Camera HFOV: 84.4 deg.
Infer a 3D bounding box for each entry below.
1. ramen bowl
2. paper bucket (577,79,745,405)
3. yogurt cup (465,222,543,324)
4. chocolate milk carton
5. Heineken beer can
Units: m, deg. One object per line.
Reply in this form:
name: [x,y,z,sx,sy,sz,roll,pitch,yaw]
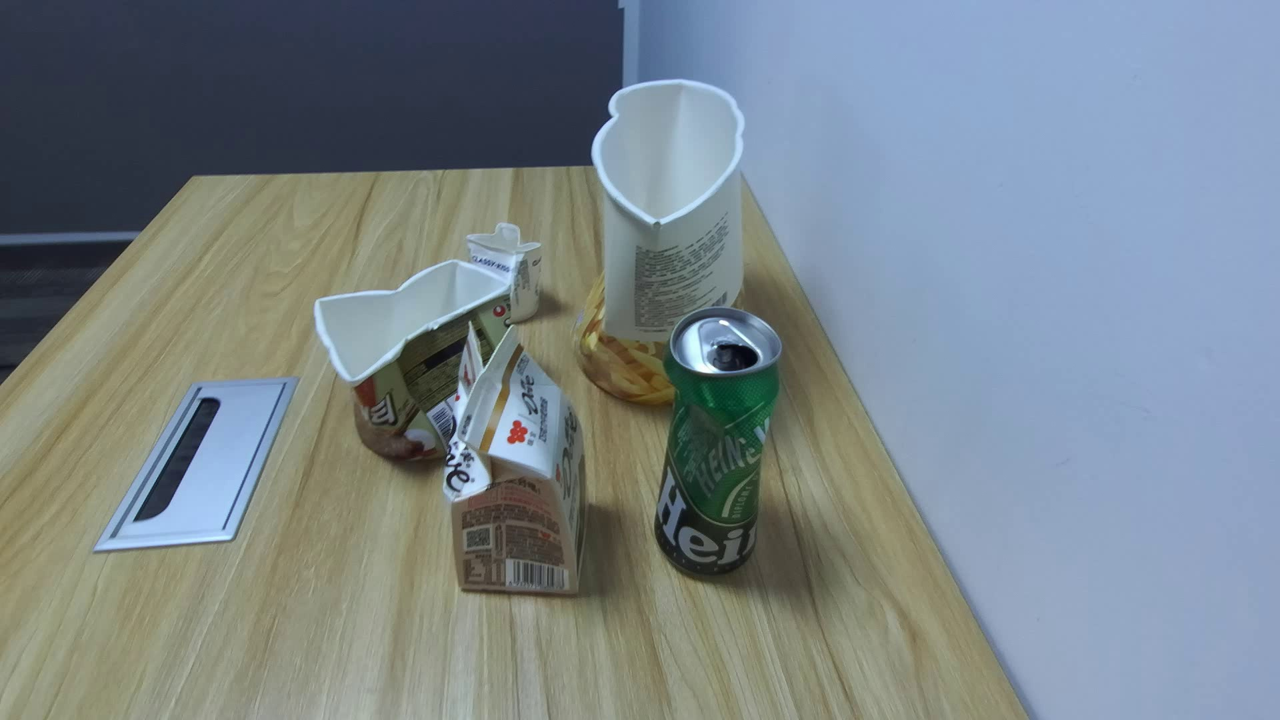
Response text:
ramen bowl: [-0.152,-0.001,0.517,0.129,0.093,0.111,-22,44,-24]
paper bucket: [0.020,-0.082,0.541,0.148,0.199,0.217,-14,40,-19]
yogurt cup: [-0.118,-0.077,0.632,0.055,0.072,0.054,-23,44,-34]
chocolate milk carton: [-0.072,0.056,0.401,0.073,0.156,0.076,1,39,2]
Heineken beer can: [0.042,0.051,0.403,0.066,0.164,0.078,13,42,17]
